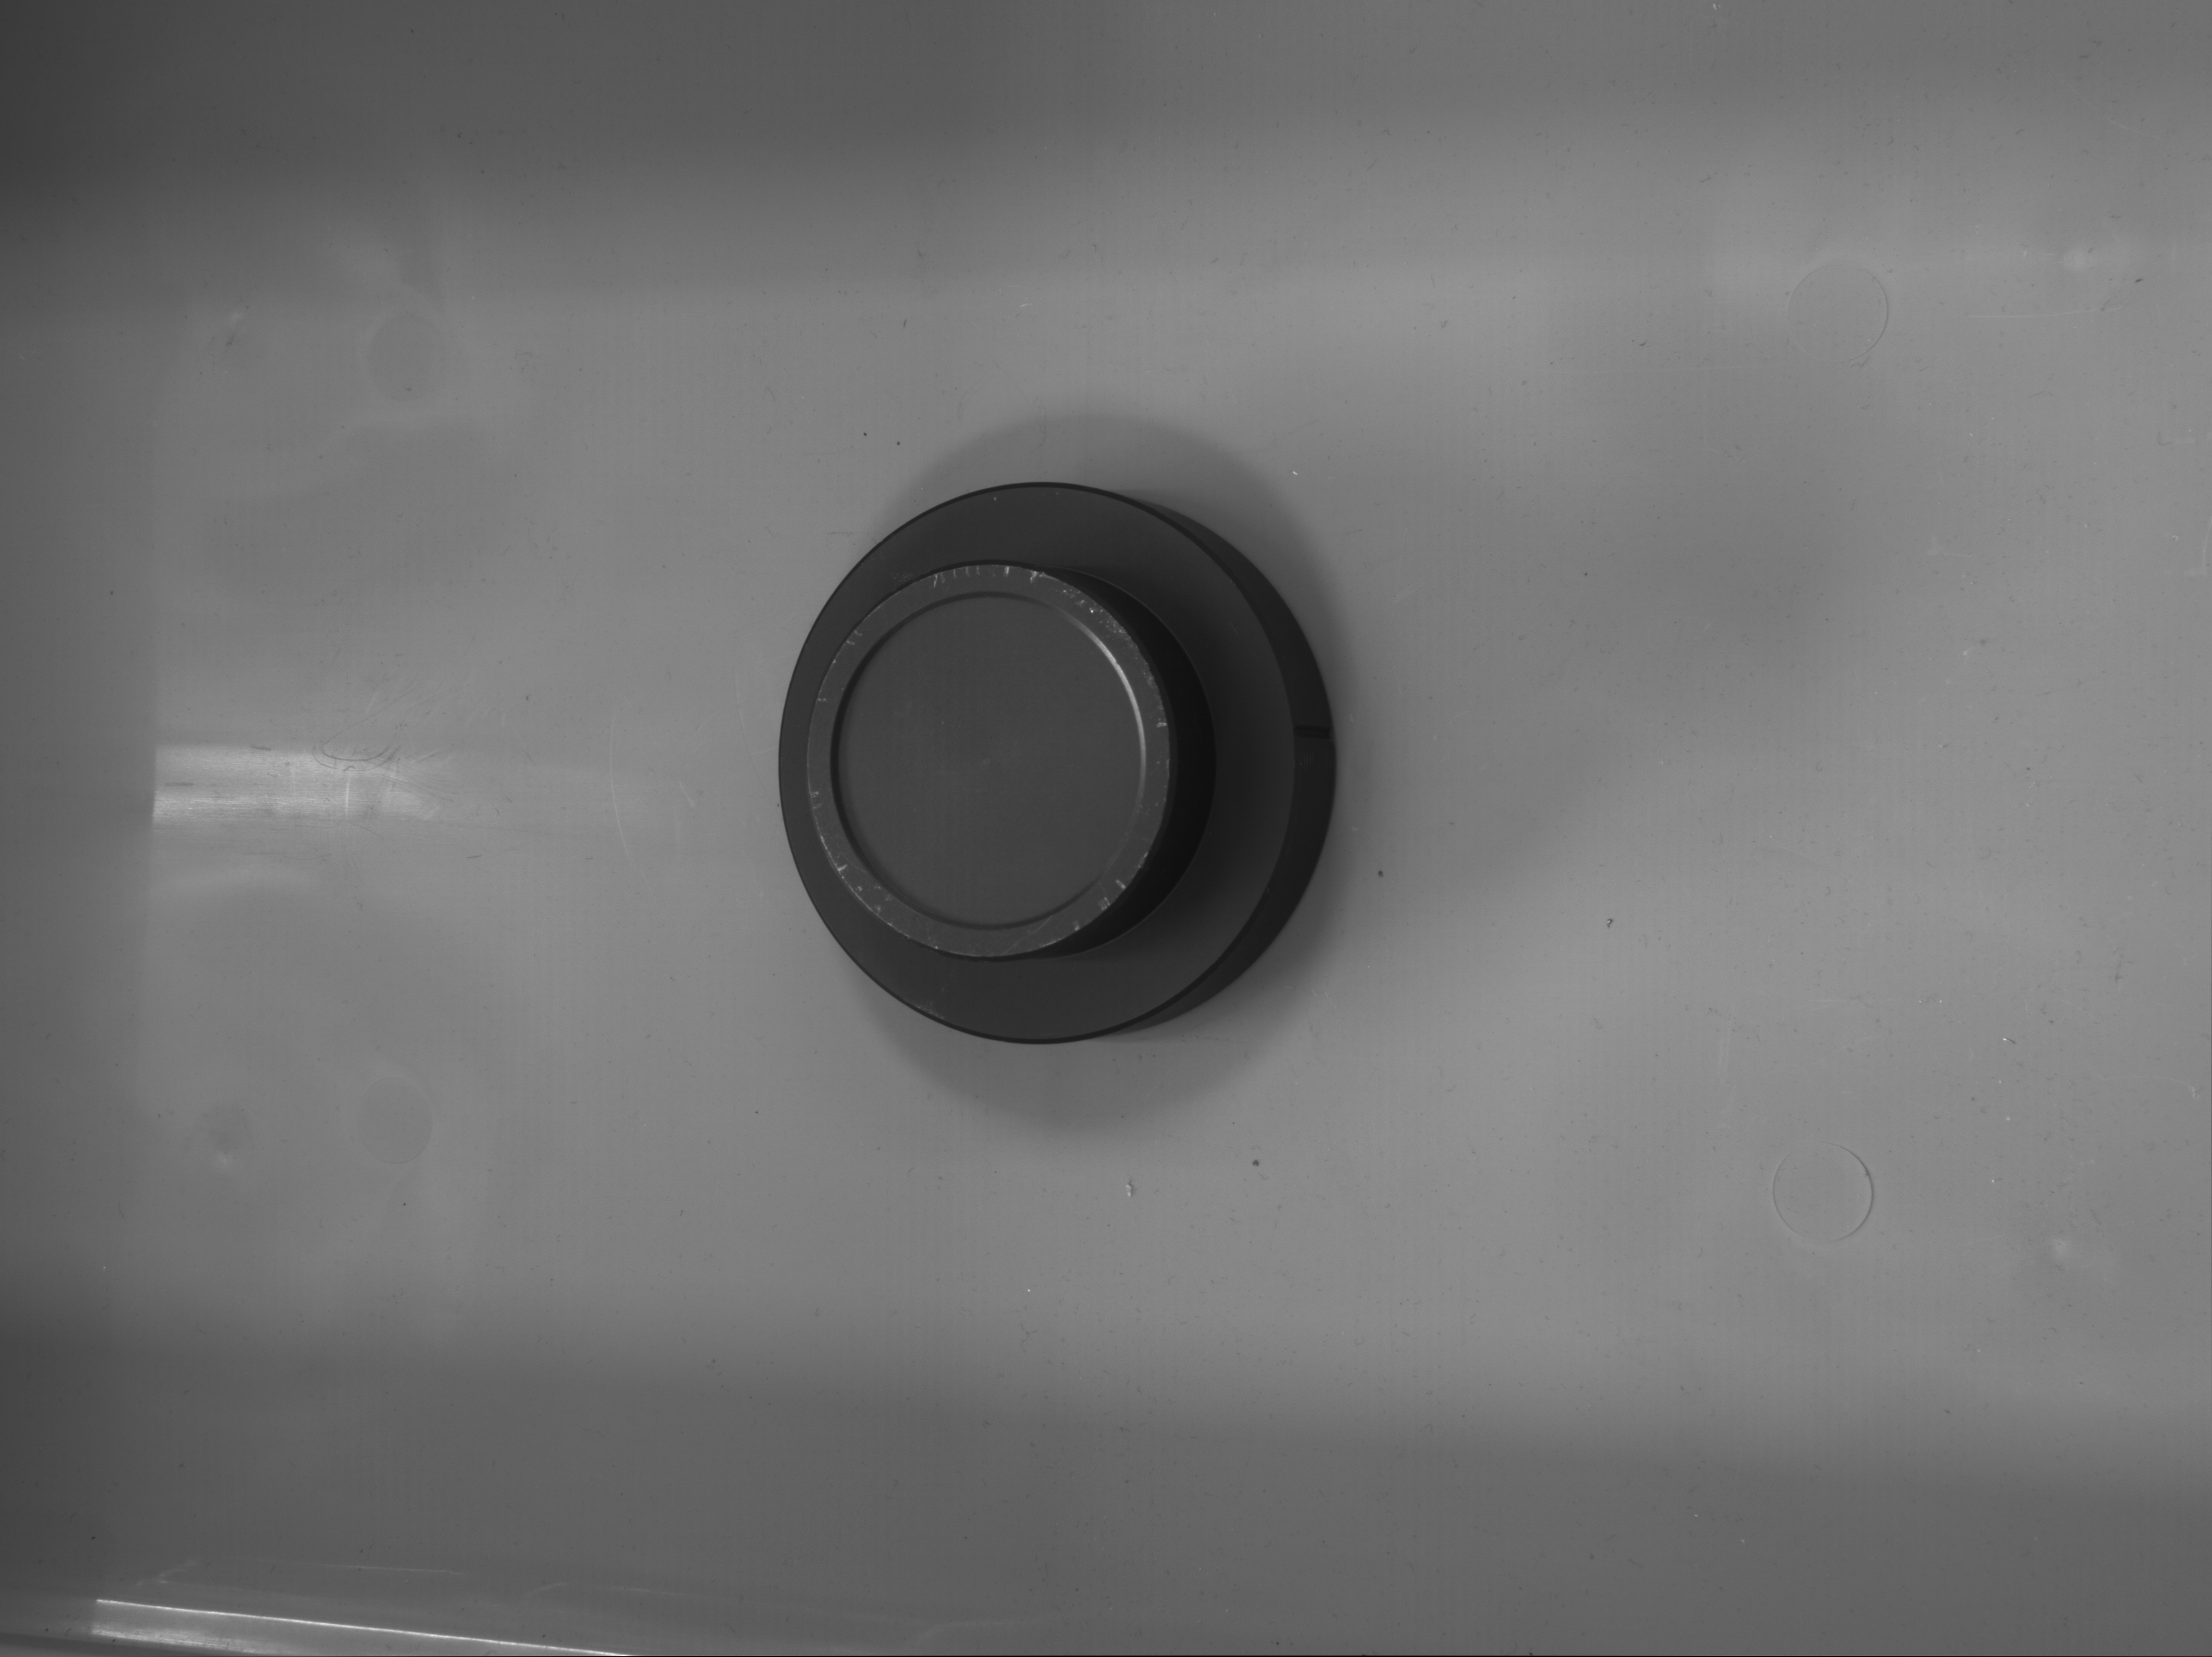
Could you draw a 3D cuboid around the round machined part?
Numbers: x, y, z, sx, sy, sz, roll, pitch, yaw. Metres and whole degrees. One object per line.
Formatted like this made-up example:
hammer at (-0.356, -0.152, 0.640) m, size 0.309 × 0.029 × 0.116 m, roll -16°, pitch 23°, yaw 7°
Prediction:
round machined part at (-0.013, -0.011, 0.640) m, size 0.098 × 0.042 × 0.098 m, roll 0°, pitch 90°, yaw 20°
